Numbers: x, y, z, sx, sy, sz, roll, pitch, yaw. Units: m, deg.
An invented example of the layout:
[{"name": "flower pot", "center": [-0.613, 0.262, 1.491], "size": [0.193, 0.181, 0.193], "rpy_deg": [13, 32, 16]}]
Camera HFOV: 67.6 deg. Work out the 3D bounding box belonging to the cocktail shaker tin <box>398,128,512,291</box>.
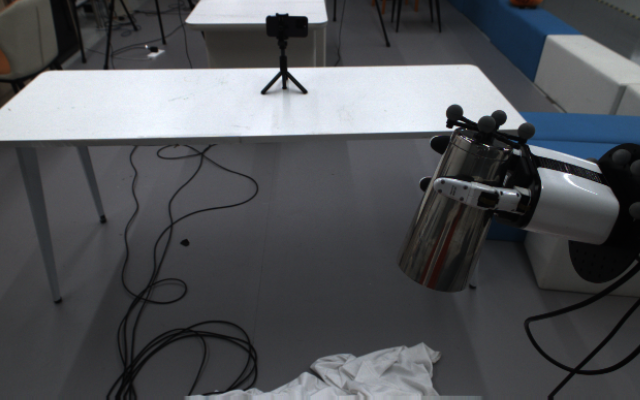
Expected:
[{"name": "cocktail shaker tin", "center": [0.160, 0.006, 0.557], "size": [0.093, 0.170, 0.093], "rpy_deg": [12, 25, -6]}]
